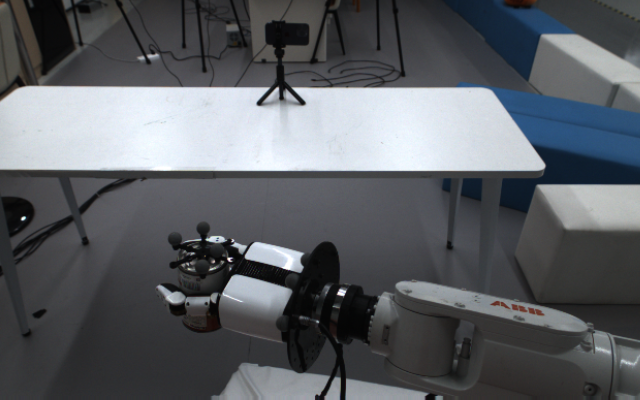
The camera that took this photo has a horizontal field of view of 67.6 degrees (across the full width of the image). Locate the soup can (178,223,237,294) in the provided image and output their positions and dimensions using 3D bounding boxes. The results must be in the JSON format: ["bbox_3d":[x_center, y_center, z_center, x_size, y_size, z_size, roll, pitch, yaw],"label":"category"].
[{"bbox_3d":[-0.150,0.116,0.637,0.067,0.101,0.067,3,30,-2],"label":"soup can"}]
